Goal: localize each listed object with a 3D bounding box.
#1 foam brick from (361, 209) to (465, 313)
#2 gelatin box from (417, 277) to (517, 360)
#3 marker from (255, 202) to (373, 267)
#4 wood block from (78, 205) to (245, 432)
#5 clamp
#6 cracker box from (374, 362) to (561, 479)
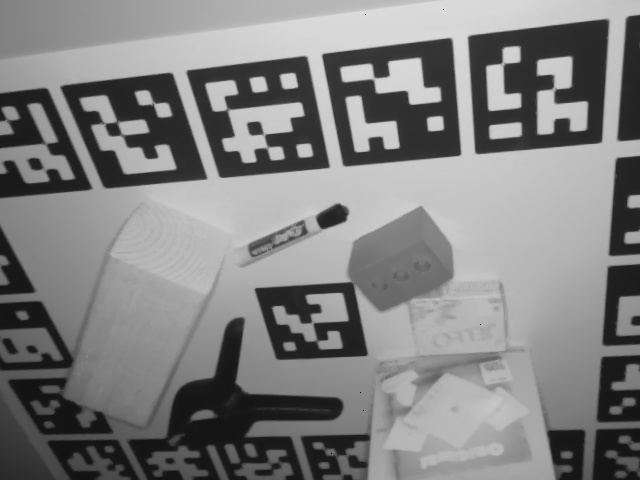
[{"bbox_3d":[0.085,0.019,0.627,0.077,0.052,0.053,-29,112,22],"label":"foam brick"},{"bbox_3d":[0.142,0.077,0.672,0.089,0.030,0.073,-7,119,11],"label":"gelatin box"},{"bbox_3d":[-0.006,-0.005,0.641,0.120,0.020,0.019,-24,114,20],"label":"marker"},{"bbox_3d":[-0.155,0.082,0.676,0.090,0.092,0.203,23,124,-9],"label":"wood block"},{"bbox_3d":[-0.086,0.192,0.763,0.200,0.037,0.166,-35,111,24],"label":"clamp"},{"bbox_3d":[0.135,0.215,0.640,0.163,0.216,0.071,-8,121,15],"label":"cracker box"}]
